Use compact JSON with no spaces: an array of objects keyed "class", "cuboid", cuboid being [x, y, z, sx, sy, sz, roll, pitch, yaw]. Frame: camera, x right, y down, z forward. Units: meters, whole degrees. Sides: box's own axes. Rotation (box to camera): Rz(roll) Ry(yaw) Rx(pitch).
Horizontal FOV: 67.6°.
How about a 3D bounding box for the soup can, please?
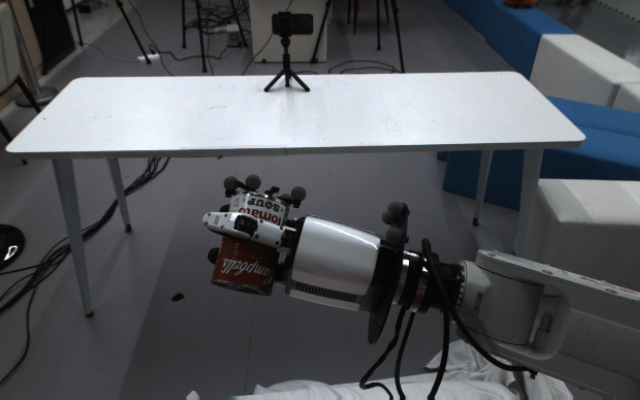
[{"class":"soup can","cuboid":[-0.074,0.049,0.533,0.067,0.067,0.101,8,71,9]}]
